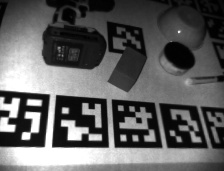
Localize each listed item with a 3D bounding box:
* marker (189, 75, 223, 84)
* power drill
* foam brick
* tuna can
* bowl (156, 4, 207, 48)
[{"bbox_3d":[0.254,-0.017,0.557,0.122,0.019,0.019,-4,65,-22],"label":"marker"},{"bbox_3d":[-0.079,-0.146,0.492,0.186,0.057,0.186,6,58,-20],"label":"power drill"},{"bbox_3d":[0.036,-0.034,0.478,0.051,0.052,0.078,27,58,-5],"label":"foam brick"},{"bbox_3d":[0.171,-0.074,0.551,0.086,0.033,0.085,10,60,-17],"label":"tuna can"},{"bbox_3d":[0.213,-0.184,0.625,0.162,0.055,0.161,9,54,-11],"label":"bowl"}]
